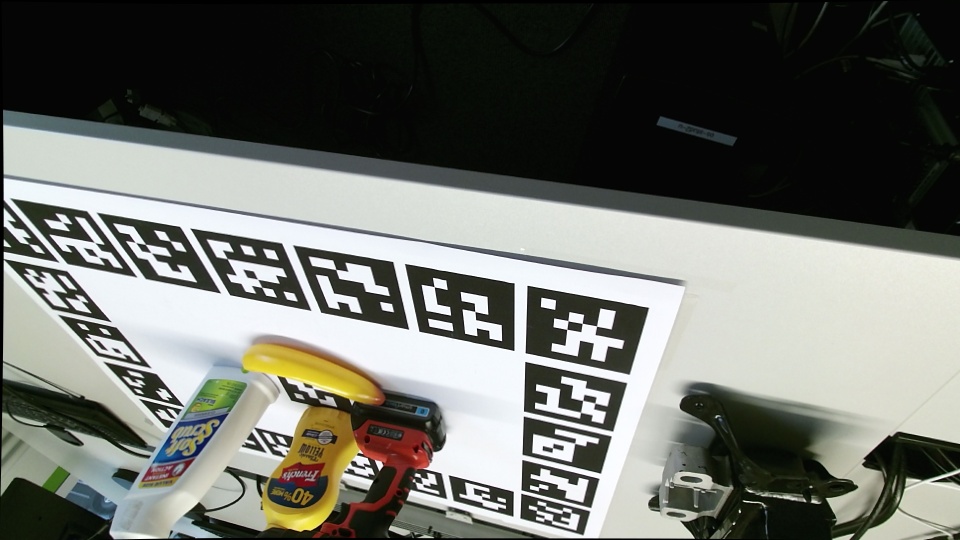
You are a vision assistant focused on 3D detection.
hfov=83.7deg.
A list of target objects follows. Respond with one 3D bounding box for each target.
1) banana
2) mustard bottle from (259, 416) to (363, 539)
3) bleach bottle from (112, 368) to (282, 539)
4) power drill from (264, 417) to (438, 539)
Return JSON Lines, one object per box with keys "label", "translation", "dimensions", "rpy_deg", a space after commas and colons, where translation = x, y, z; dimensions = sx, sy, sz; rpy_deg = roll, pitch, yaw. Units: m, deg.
{"label": "banana", "translation": [-0.223, 0.138, 0.666], "dimensions": [0.198, 0.039, 0.074], "rpy_deg": [10, 131, 9]}
{"label": "mustard bottle", "translation": [-0.233, 0.291, 0.712], "dimensions": [0.096, 0.191, 0.058], "rpy_deg": [10, 135, 13]}
{"label": "bleach bottle", "translation": [-0.366, 0.243, 0.686], "dimensions": [0.103, 0.250, 0.068], "rpy_deg": [3, 132, 19]}
{"label": "power drill", "translation": [-0.142, 0.275, 0.635], "dimensions": [0.185, 0.186, 0.057], "rpy_deg": [9, 141, 17]}
